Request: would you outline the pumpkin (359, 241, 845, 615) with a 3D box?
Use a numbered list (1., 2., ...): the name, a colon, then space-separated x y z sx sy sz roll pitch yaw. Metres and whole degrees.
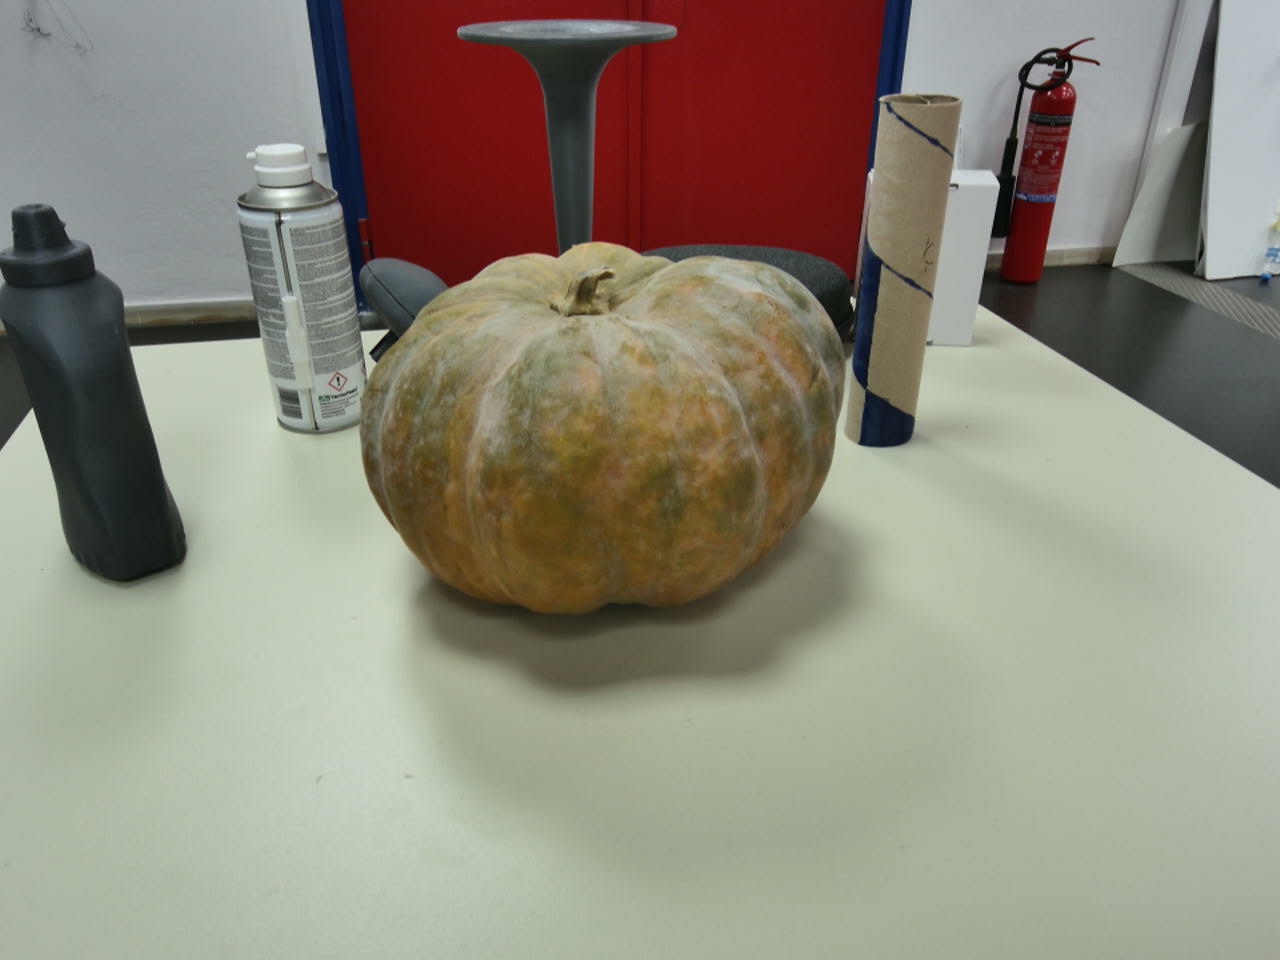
1. pumpkin: -0.023 -0.033 0.530 0.252 0.169 0.251 0 27 0
